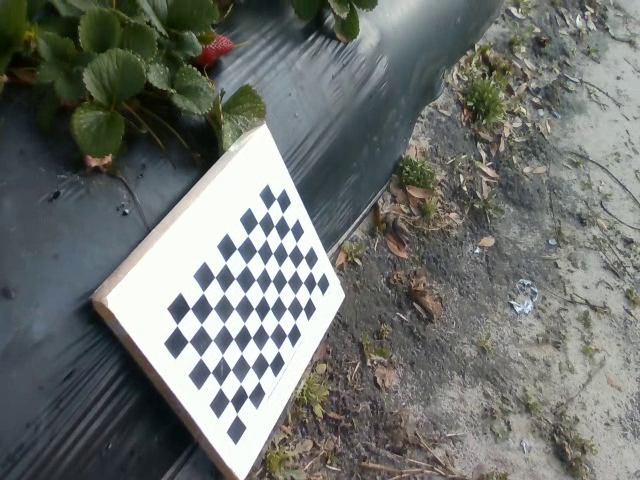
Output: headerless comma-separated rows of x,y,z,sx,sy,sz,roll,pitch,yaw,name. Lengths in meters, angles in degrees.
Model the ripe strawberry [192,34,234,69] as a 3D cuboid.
-0.115,-0.218,0.718,0.043,0.051,0.064,-3,5,34,ripe strawberry
